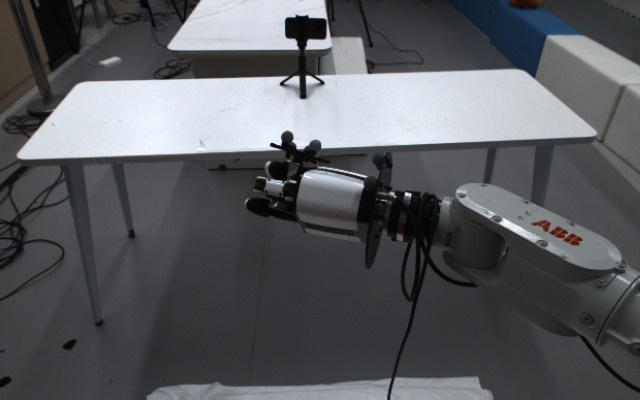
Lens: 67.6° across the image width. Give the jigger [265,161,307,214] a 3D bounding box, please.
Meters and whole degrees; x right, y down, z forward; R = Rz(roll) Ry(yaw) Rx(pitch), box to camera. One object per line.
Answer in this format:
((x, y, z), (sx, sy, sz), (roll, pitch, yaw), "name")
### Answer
((-0.043, -0.018, 0.678), (0.043, 0.071, 0.043), (19, -6, 2), "jigger")
